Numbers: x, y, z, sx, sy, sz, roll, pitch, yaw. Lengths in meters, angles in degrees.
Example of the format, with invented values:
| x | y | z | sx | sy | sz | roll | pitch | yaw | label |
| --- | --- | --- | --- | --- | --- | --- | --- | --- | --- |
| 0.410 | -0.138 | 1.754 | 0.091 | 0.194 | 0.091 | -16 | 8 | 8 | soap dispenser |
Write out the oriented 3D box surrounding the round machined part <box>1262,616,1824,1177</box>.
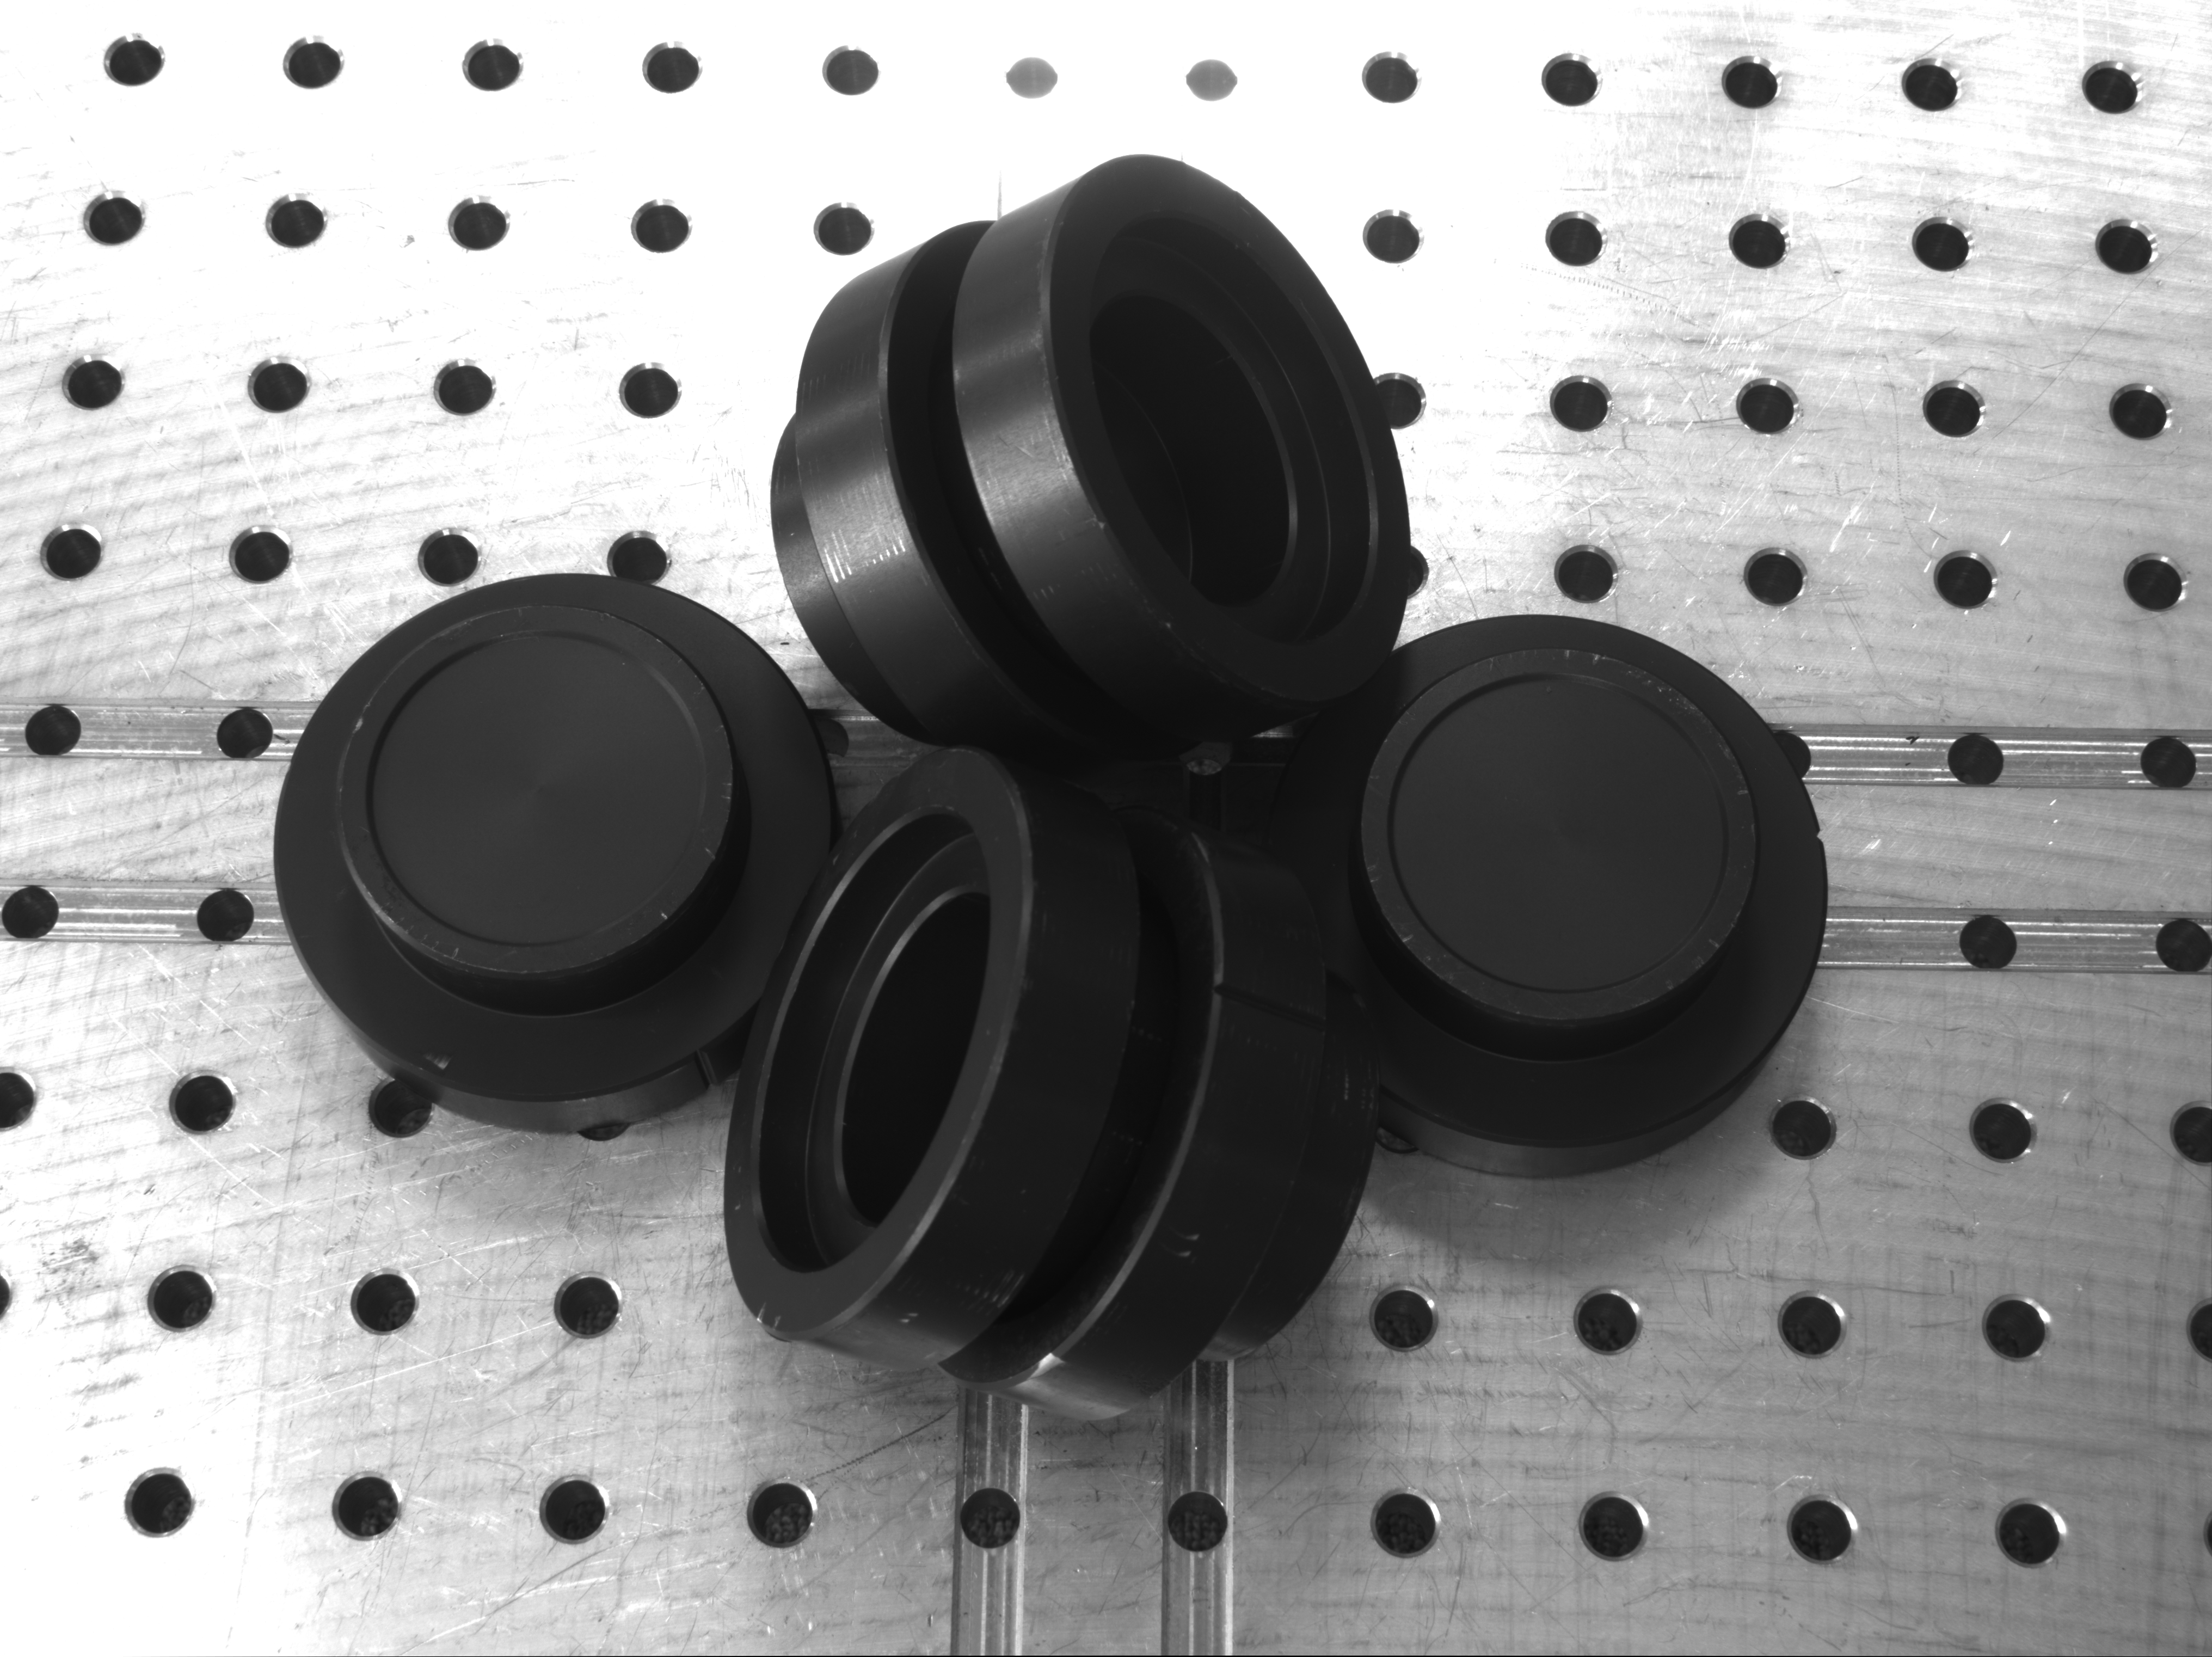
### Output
| x | y | z | sx | sy | sz | roll | pitch | yaw | label |
| --- | --- | --- | --- | --- | --- | --- | --- | --- | --- |
| 0.076 | 0.008 | 0.636 | 0.098 | 0.042 | 0.098 | 0 | 70 | 0 | round machined part |

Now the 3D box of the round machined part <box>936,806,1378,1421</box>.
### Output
| x | y | z | sx | sy | sz | roll | pitch | yaw | label |
| --- | --- | --- | --- | --- | --- | --- | --- | --- | --- |
| 0.008 | 0.049 | 0.601 | 0.042 | 0.098 | 0.098 | 21 | 68 | -26 | round machined part |

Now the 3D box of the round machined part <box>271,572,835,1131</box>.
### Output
| x | y | z | sx | sy | sz | roll | pitch | yaw | label |
| --- | --- | --- | --- | --- | --- | --- | --- | --- | --- |
| -0.096 | 0.000 | 0.638 | 0.098 | 0.042 | 0.098 | 0 | 70 | 0 | round machined part |

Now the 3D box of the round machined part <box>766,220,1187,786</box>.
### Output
| x | y | z | sx | sy | sz | roll | pitch | yaw | label |
| --- | --- | --- | --- | --- | --- | --- | --- | --- | --- |
| -0.021 | -0.053 | 0.641 | 0.042 | 0.098 | 0.098 | -21 | 65 | 35 | round machined part |

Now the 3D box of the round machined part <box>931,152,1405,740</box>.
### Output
| x | y | z | sx | sy | sz | roll | pitch | yaw | label |
| --- | --- | --- | --- | --- | --- | --- | --- | --- | --- |
| 0.005 | -0.061 | 0.624 | 0.042 | 0.098 | 0.098 | -21 | 65 | 35 | round machined part |

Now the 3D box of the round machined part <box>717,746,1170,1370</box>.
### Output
| x | y | z | sx | sy | sz | roll | pitch | yaw | label |
| --- | --- | --- | --- | --- | --- | --- | --- | --- | --- |
| -0.021 | 0.040 | 0.590 | 0.042 | 0.098 | 0.098 | 21 | 68 | -26 | round machined part |
